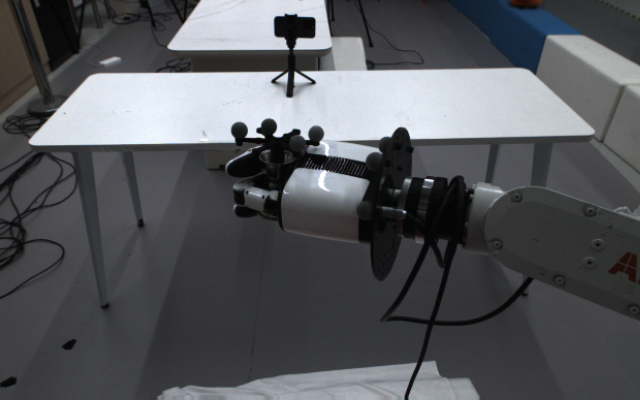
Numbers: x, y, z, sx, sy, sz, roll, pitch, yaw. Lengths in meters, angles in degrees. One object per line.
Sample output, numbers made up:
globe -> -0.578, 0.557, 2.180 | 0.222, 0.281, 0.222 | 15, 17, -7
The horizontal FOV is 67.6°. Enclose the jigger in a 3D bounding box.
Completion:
jigger -> -0.043, -0.017, 0.543 | 0.043, 0.071, 0.043 | 3, 25, -1
